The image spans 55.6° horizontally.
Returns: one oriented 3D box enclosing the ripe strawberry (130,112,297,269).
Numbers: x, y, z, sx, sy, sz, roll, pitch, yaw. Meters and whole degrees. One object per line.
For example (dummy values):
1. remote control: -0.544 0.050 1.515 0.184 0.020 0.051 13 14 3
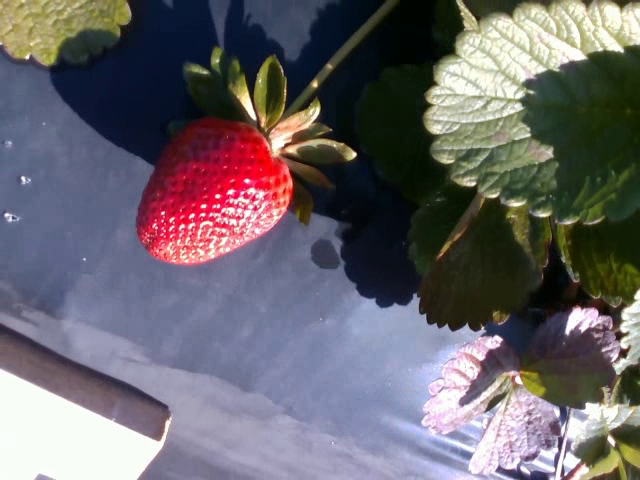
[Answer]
1. ripe strawberry: -0.034 -0.010 0.172 0.043 0.043 0.050 11 45 45
